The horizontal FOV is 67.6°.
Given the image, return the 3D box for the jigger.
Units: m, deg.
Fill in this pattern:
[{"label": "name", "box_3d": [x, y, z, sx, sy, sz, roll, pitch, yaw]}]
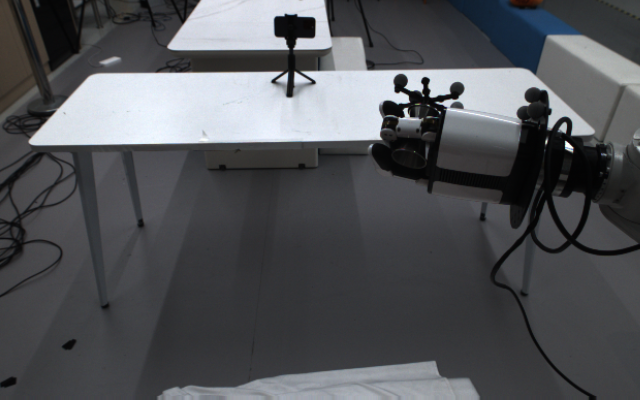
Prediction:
[{"label": "jigger", "box_3d": [0.120, -0.078, 0.590, 0.043, 0.043, 0.071, 13, 69, 15]}]
